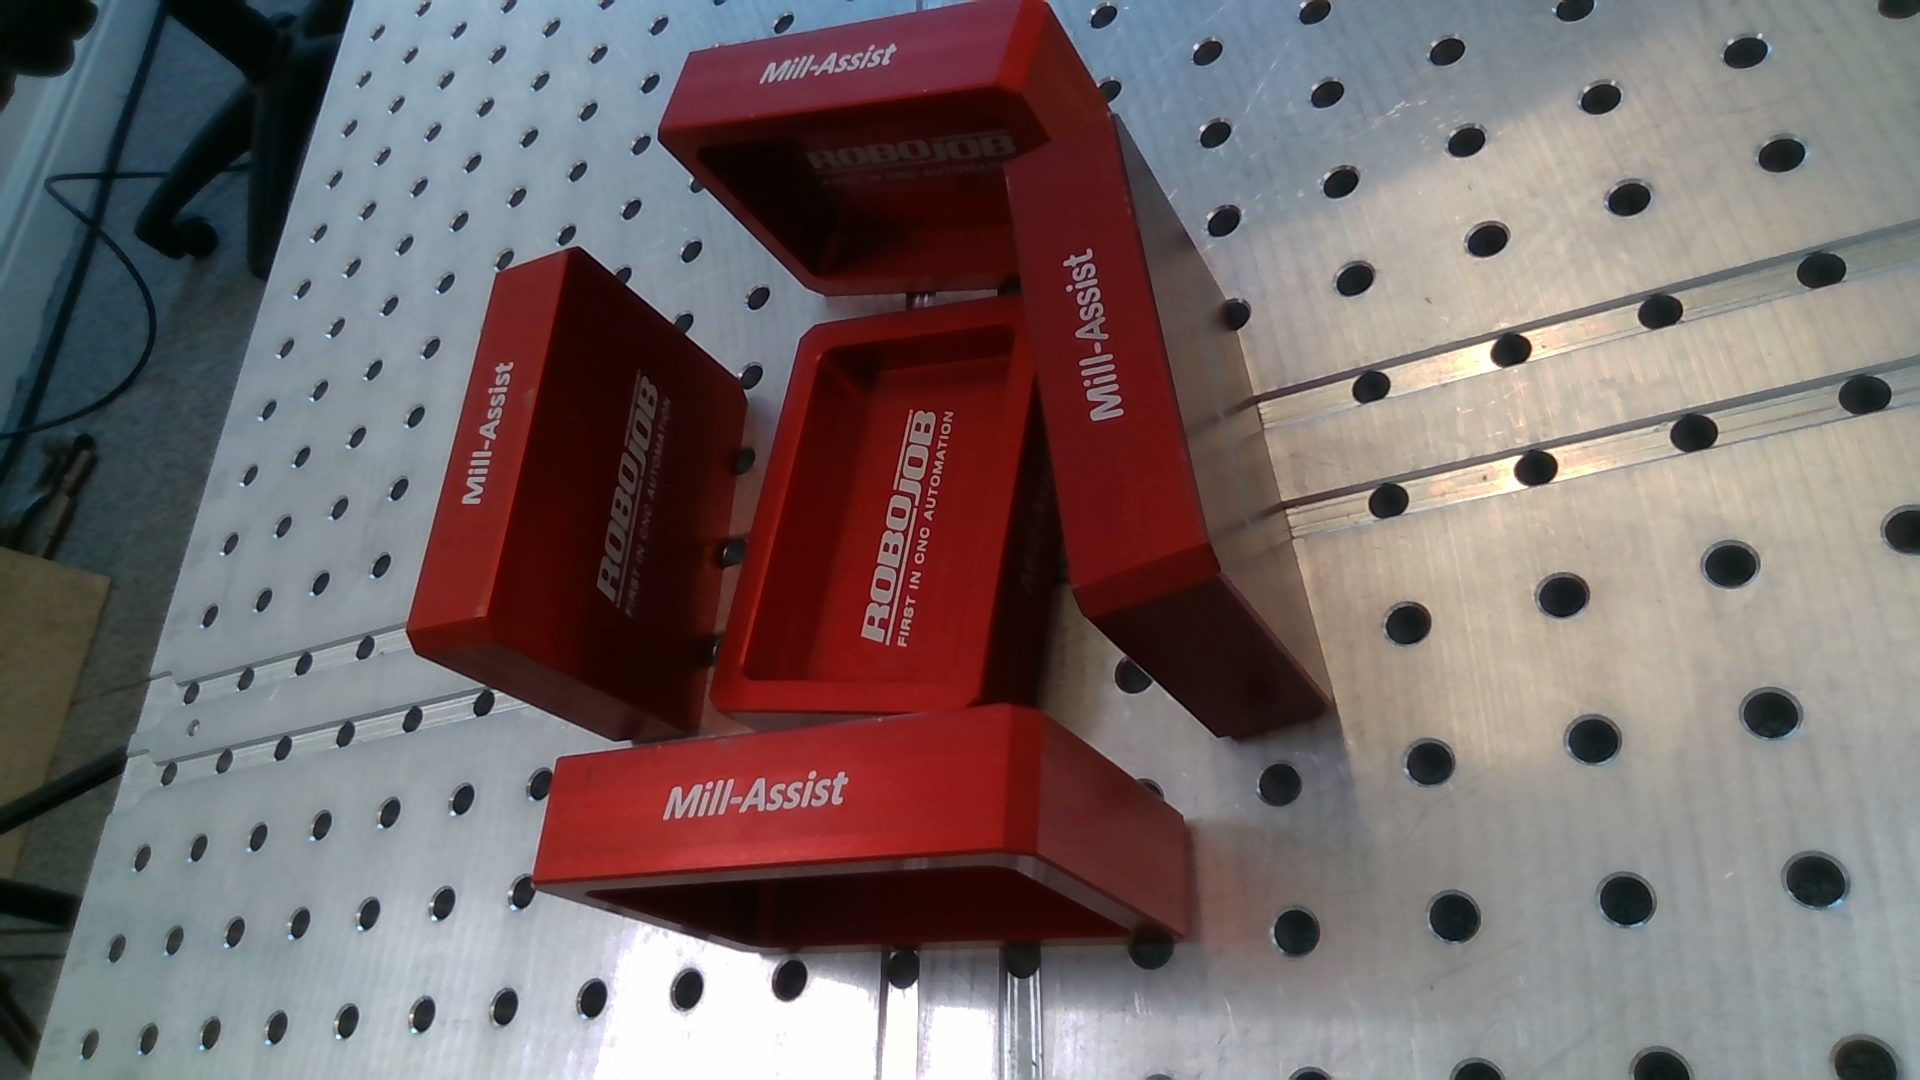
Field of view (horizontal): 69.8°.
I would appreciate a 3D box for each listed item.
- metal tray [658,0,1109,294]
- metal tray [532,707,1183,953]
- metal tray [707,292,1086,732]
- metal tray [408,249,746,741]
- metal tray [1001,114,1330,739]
[{"bbox_3d":[-0.016,-0.115,0.425,0.130,0.090,0.030,4,67,33],"label":"metal tray"},{"bbox_3d":[-0.023,0.074,0.328,0.130,0.090,0.030,-10,61,27],"label":"metal tray"},{"bbox_3d":[-0.017,-0.006,0.405,0.090,0.030,0.130,-3,64,30],"label":"metal tray"},{"bbox_3d":[-0.113,-0.012,0.430,0.030,0.090,0.130,-11,60,27],"label":"metal tray"},{"bbox_3d":[0.050,-0.027,0.337,0.030,0.090,0.130,-20,56,21],"label":"metal tray"}]
